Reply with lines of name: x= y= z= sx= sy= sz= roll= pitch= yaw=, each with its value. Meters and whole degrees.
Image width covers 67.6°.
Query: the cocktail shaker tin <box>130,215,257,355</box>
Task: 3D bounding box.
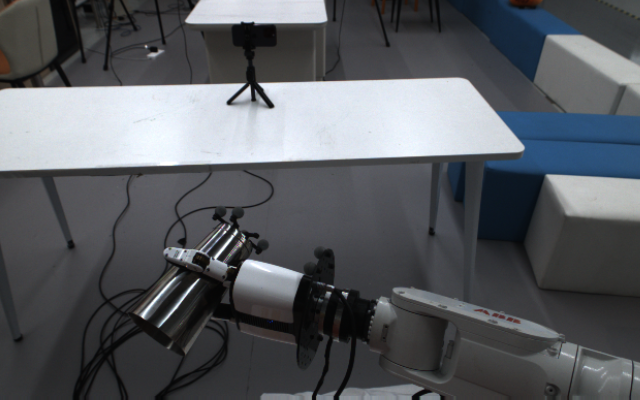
cocktail shaker tin: x=-0.166 y=0.110 z=0.662 sx=0.093 sy=0.093 sz=0.170 roll=19 pitch=54 yaw=23
